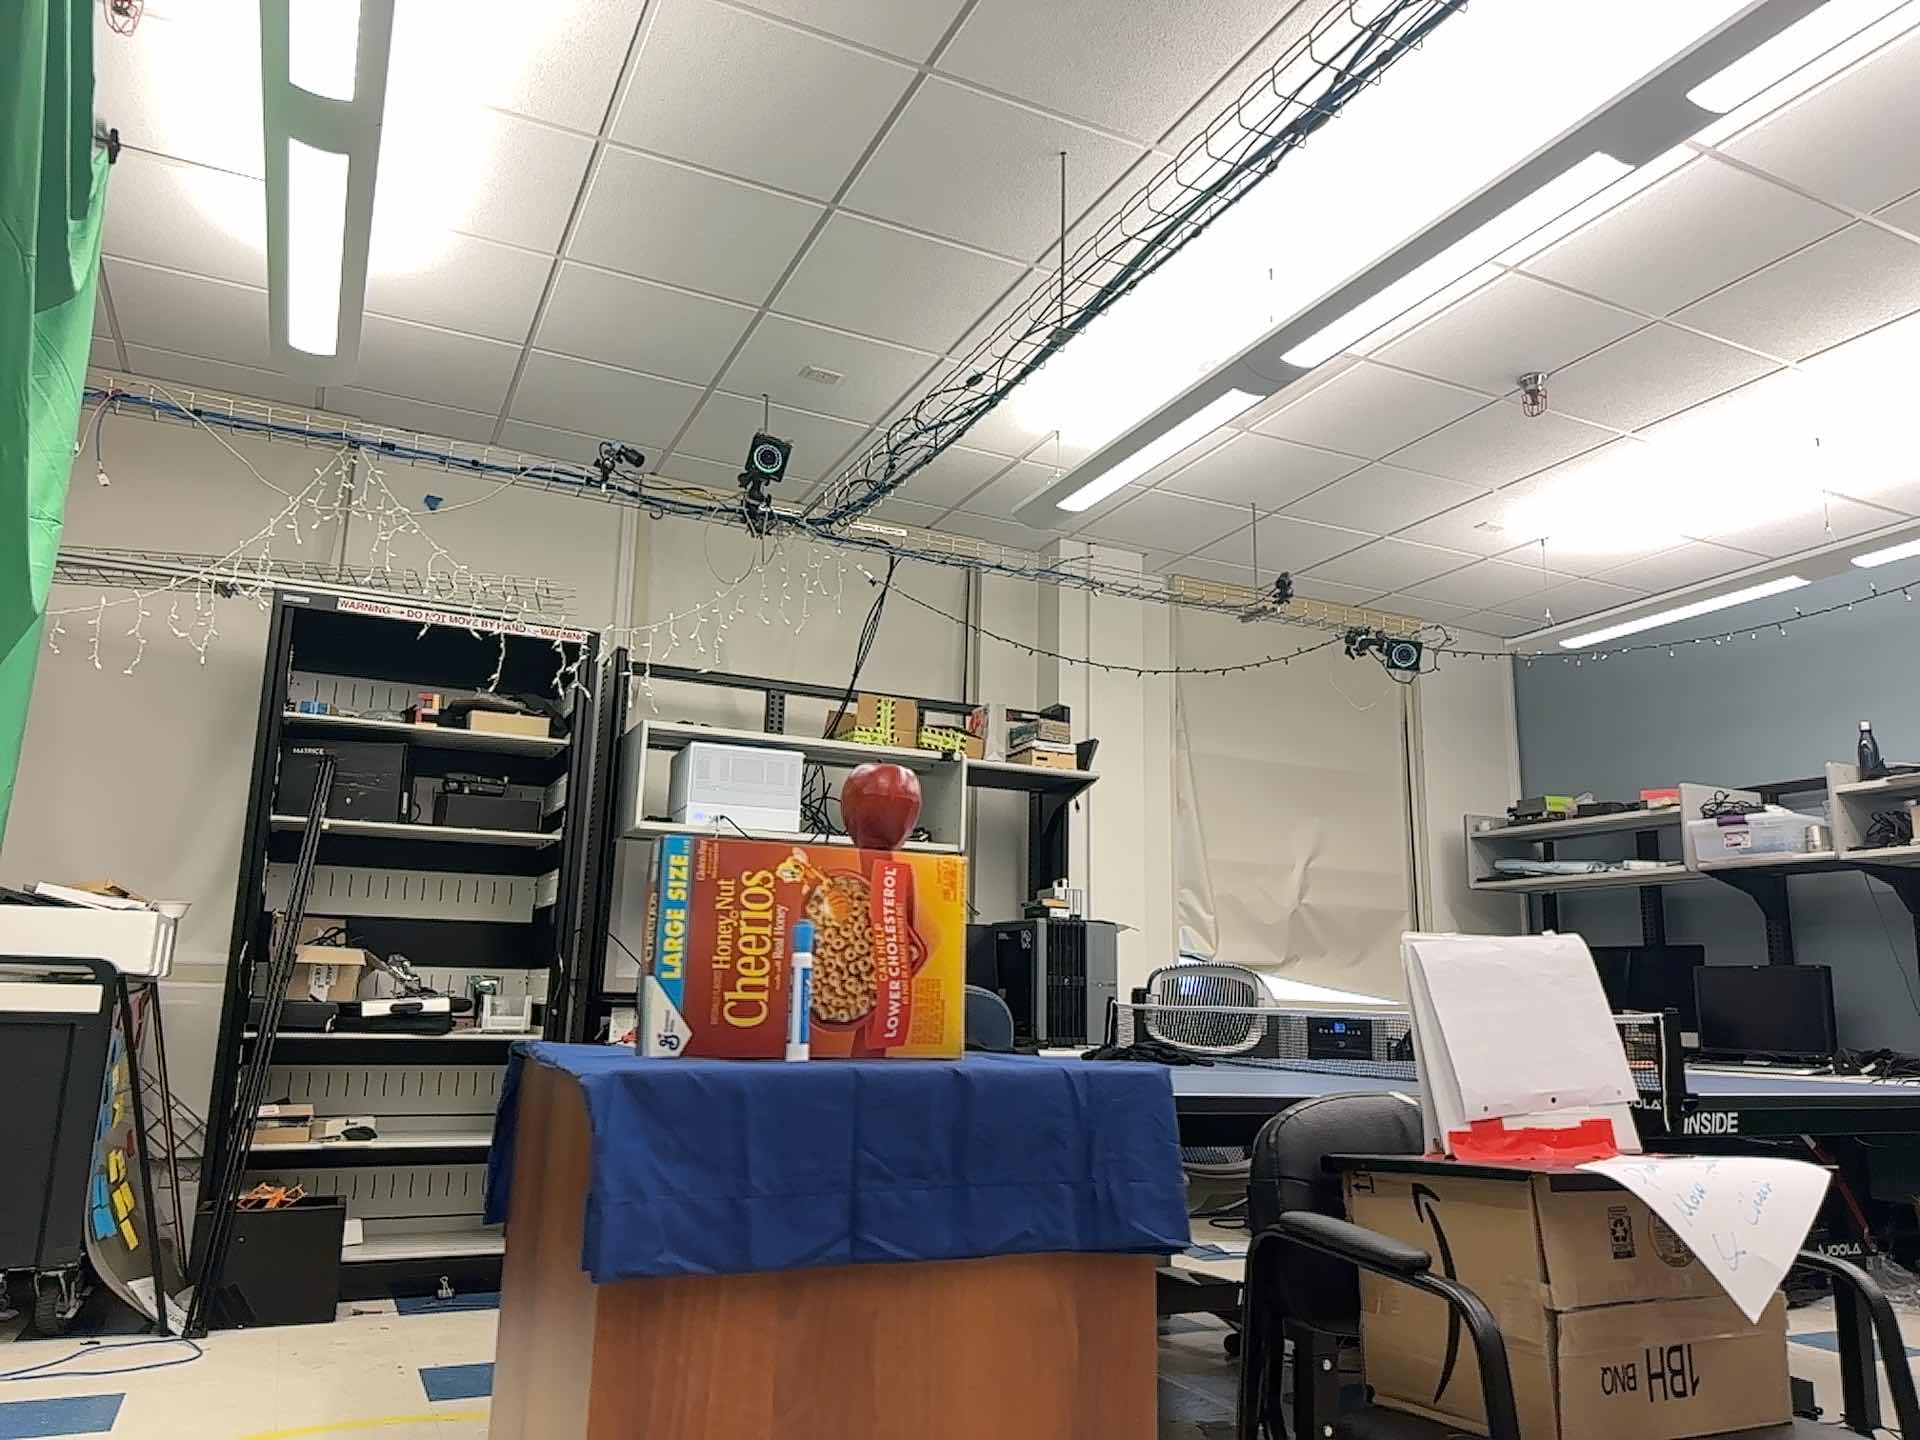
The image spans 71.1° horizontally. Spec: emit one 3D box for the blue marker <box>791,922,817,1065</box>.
[{"bbox_3d":[-0.136,0.236,1.165,0.020,0.121,0.020,0,-14,0],"label":"blue marker"}]

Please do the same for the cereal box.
[{"bbox_3d":[-0.139,0.219,1.270,0.297,0.195,0.065,8,-16,-26],"label":"cereal box"}]

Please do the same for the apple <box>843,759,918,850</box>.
[{"bbox_3d":[-0.079,0.084,1.332,0.079,0.093,0.079,3,-13,1],"label":"apple"}]
